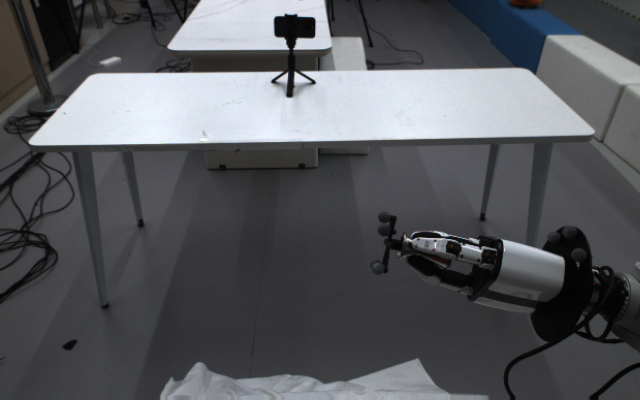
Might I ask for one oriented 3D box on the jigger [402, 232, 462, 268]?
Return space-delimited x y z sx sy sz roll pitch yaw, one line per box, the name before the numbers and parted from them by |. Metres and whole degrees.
jigger | 0.152 0.067 0.670 0.071 0.043 0.043 11 35 2
